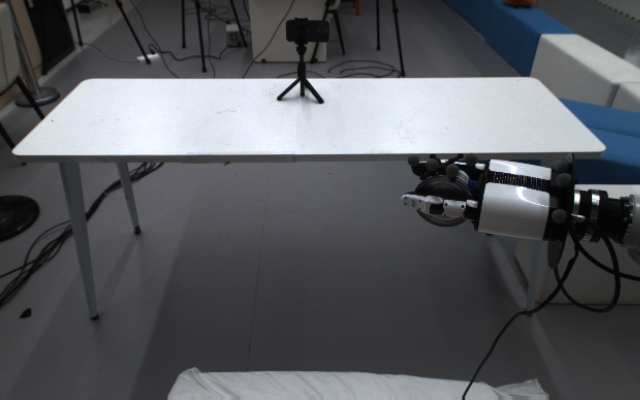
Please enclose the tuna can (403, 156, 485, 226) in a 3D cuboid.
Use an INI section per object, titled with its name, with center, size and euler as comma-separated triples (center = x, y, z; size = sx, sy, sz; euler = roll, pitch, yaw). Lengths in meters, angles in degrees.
[tuna can]
center = 0.183, -0.007, 0.704
size = 0.085, 0.085, 0.034
euler = 15, 35, 17
